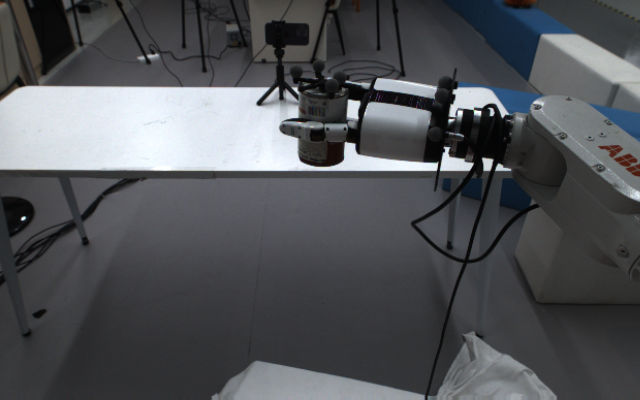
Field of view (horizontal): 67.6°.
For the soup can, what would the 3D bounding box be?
[{"bbox_3d":[0.003,-0.105,0.663,0.067,0.101,0.067,2,32,-1],"label":"soup can"}]
